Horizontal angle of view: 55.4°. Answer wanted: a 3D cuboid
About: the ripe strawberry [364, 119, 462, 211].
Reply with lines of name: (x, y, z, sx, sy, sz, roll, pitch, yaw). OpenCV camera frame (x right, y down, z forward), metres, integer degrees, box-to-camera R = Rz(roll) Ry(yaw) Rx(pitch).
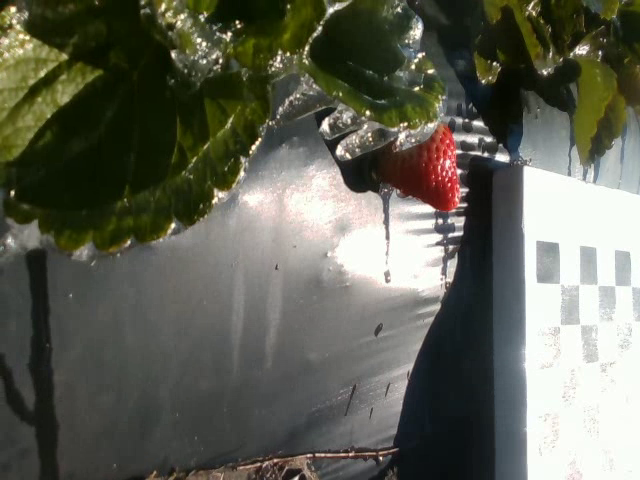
ripe strawberry: (0.047, -0.033, 0.265, 0.039, 0.053, 0.040, -23, -4, -38)
